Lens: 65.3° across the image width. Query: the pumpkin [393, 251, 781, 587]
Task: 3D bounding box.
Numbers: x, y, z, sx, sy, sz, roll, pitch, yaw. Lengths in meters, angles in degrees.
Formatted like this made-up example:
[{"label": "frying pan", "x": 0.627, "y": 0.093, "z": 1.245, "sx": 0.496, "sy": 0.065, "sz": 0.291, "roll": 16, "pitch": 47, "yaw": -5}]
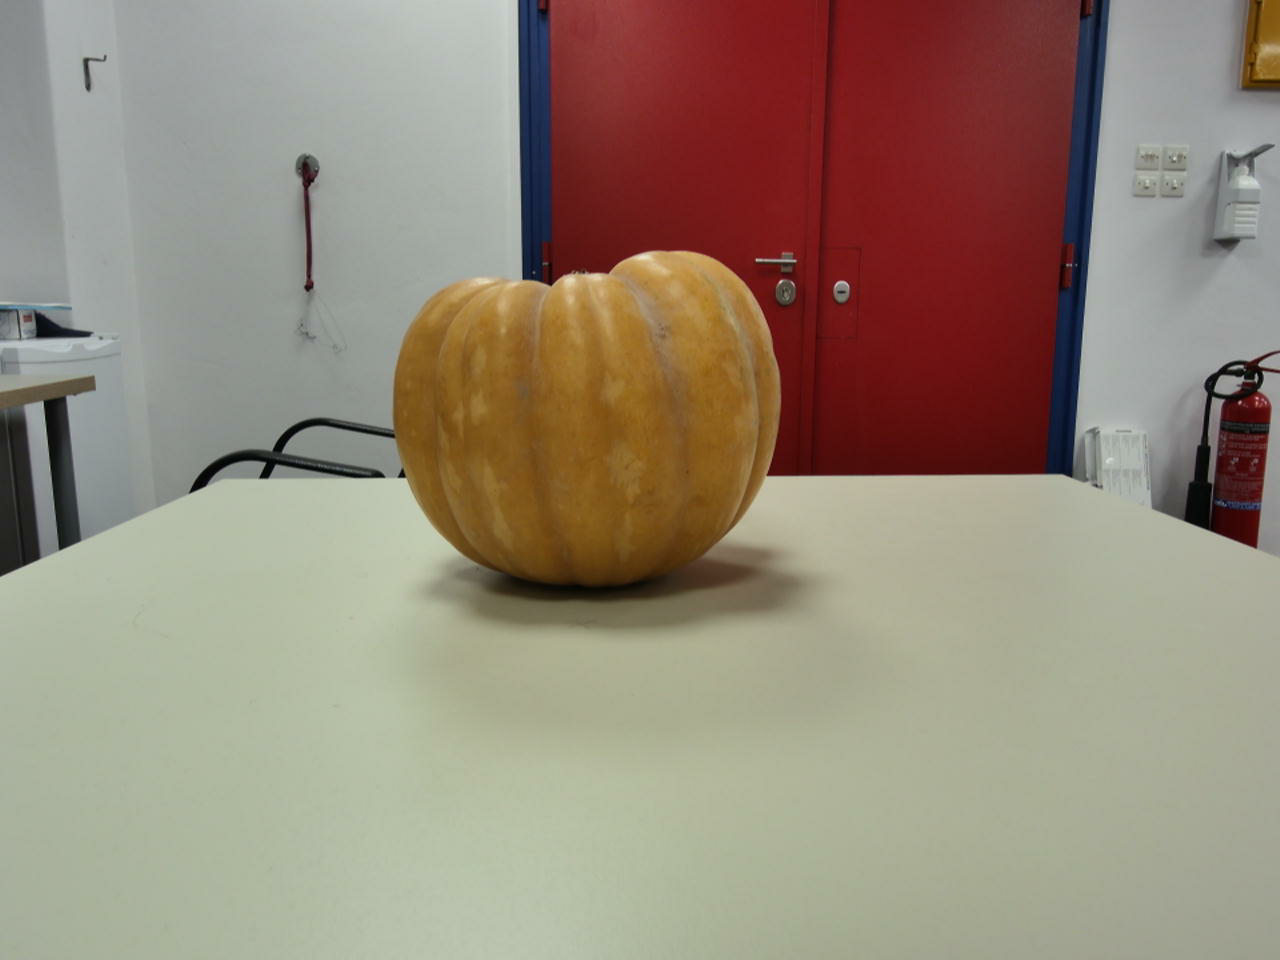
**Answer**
[{"label": "pumpkin", "x": -0.028, "y": -0.037, "z": 0.600, "sx": 0.230, "sy": 0.194, "sz": 0.230, "roll": -1, "pitch": 8, "yaw": 0}]
